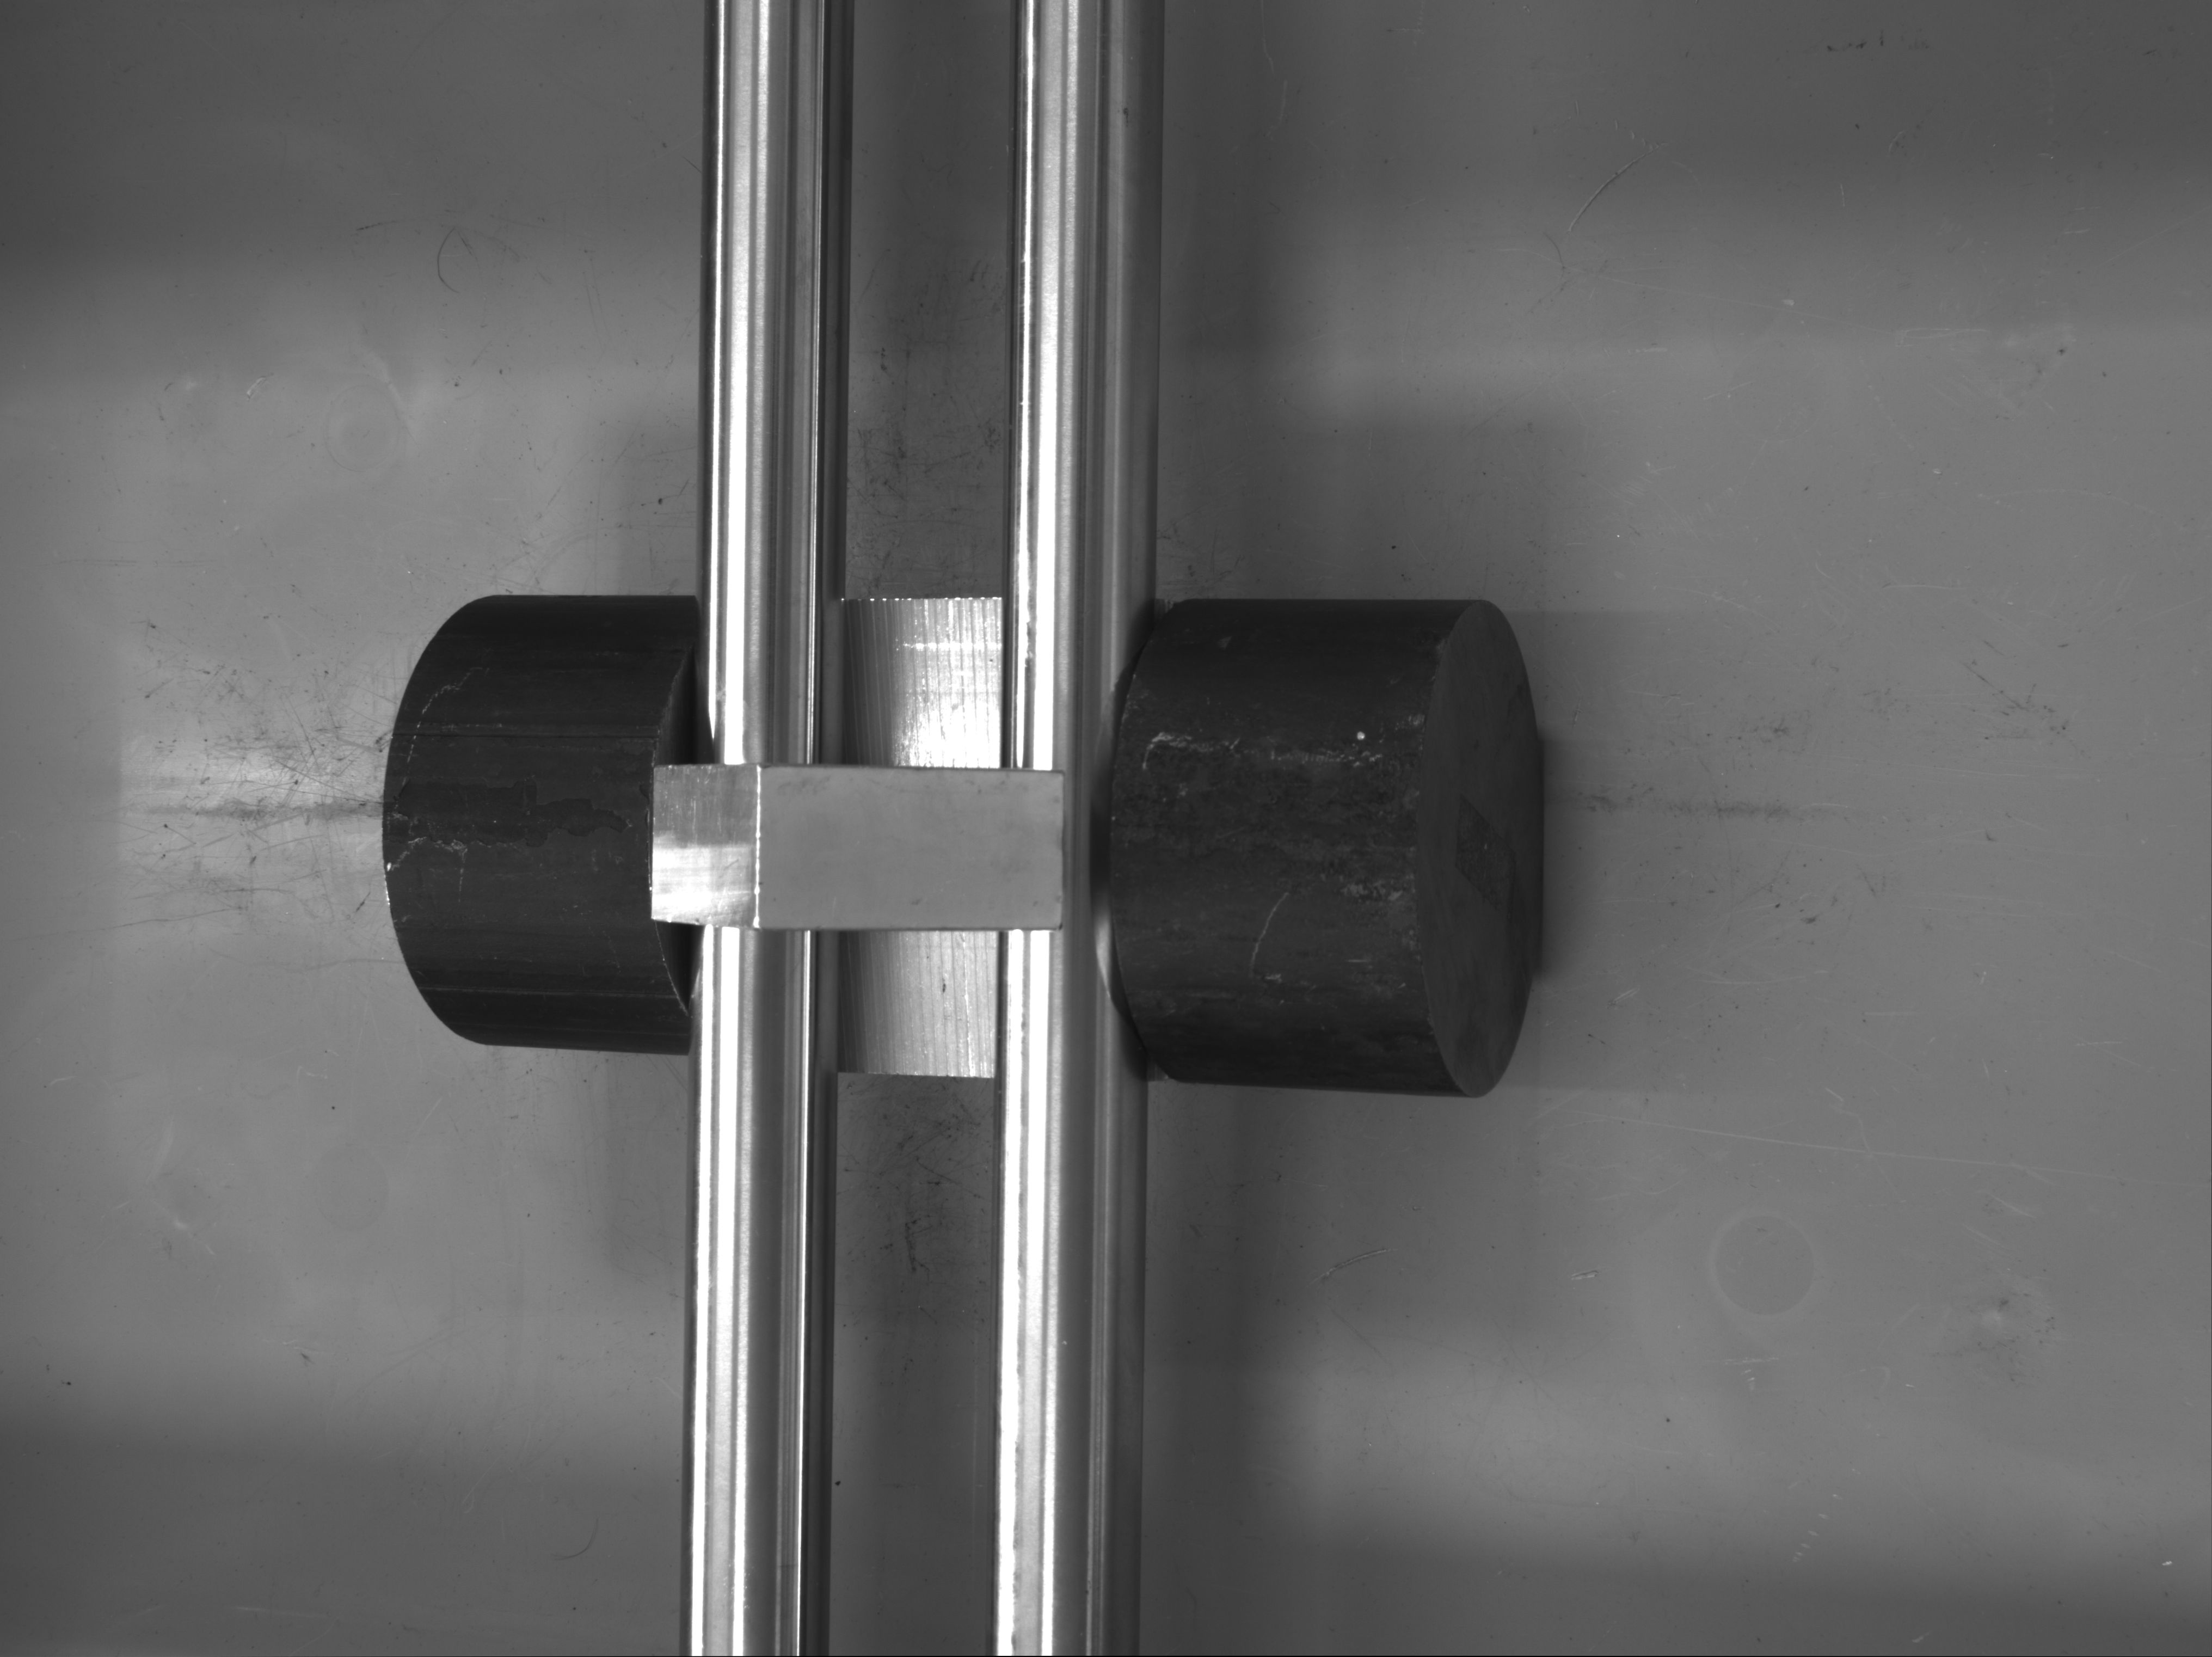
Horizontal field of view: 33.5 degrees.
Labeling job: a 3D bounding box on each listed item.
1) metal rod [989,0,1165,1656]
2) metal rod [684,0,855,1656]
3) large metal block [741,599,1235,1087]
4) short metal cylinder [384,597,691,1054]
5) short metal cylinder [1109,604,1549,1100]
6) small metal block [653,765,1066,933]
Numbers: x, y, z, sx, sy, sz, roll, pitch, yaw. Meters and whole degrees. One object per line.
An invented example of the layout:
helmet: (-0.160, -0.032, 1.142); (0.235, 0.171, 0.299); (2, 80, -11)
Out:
metal rod: (-0.005, 0.004, 0.594); (0.025, 0.025, 0.300); (1, 90, 20)
metal rod: (-0.056, 0.005, 0.613); (0.025, 0.025, 0.300); (1, 90, 20)
large metal block: (-0.018, 0.002, 0.639); (0.080, 0.050, 0.080); (1, 90, 20)
short metal cylinder: (-0.084, -0.001, 0.647); (0.050, 0.080, 0.080); (1, 90, 20)
short metal cylinder: (0.038, 0.003, 0.602); (0.050, 0.080, 0.080); (1, 90, 21)
small metal block: (-0.040, 0.003, 0.580); (0.050, 0.050, 0.025); (-179, 89, -65)
